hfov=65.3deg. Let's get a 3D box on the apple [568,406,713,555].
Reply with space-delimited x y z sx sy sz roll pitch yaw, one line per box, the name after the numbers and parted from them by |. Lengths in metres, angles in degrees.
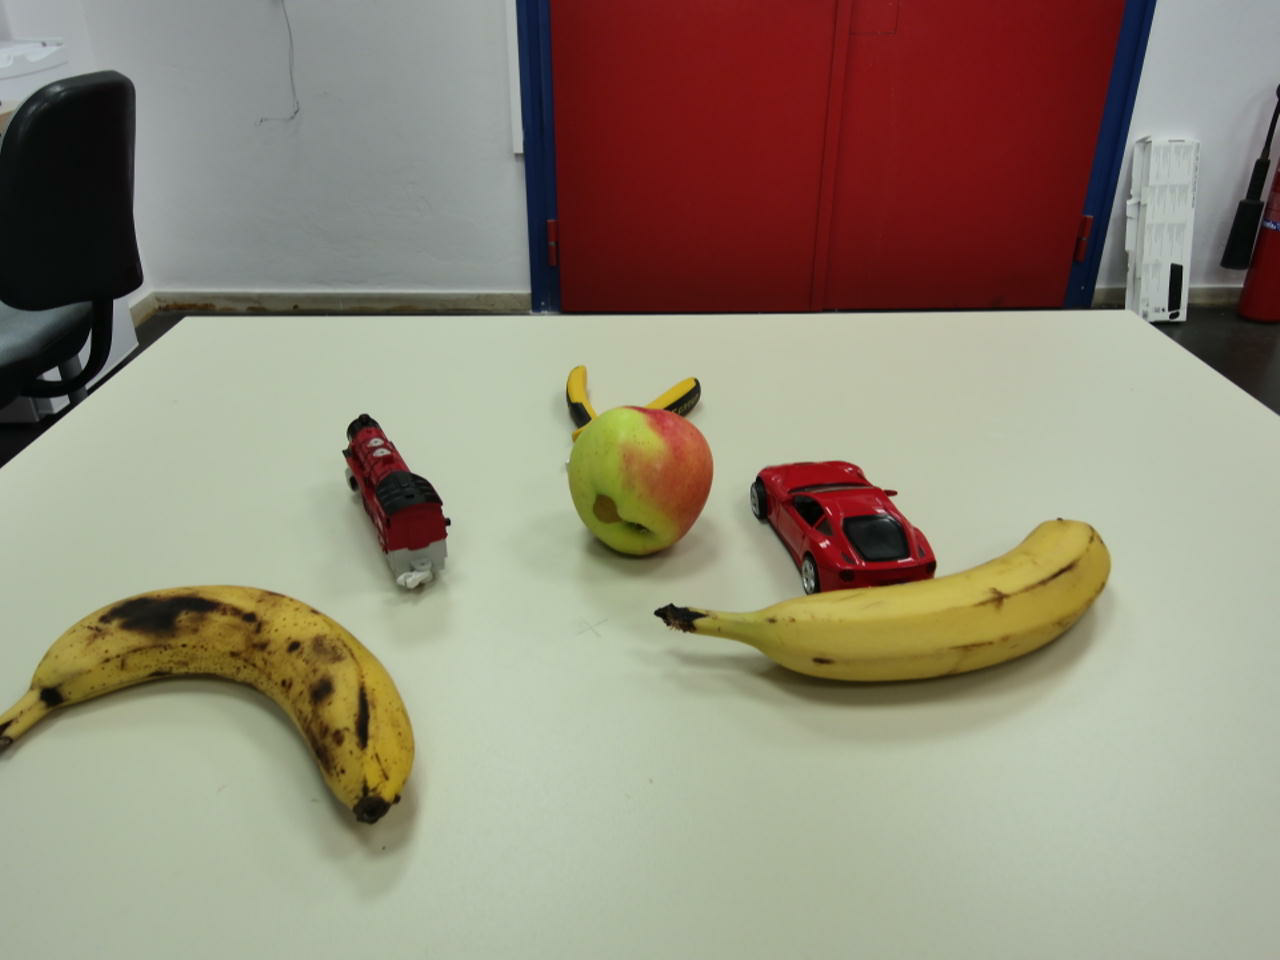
0.001 0.000 0.510 0.075 0.074 0.075 -8 27 -18 | apple
